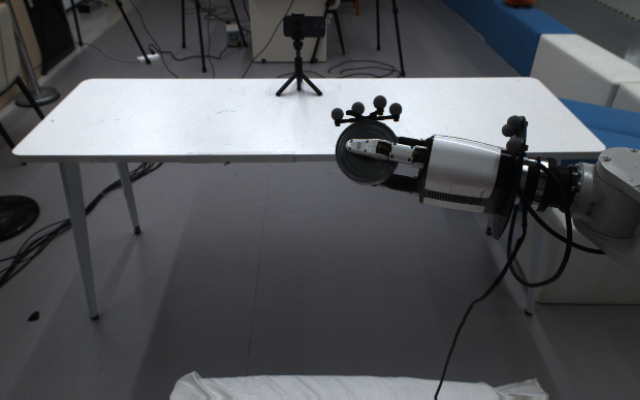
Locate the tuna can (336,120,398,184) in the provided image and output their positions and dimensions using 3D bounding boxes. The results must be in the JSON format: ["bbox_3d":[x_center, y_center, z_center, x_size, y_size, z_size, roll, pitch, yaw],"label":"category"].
[{"bbox_3d":[0.066,-0.064,0.657,0.085,0.085,0.034,10,-6,11],"label":"tuna can"}]
